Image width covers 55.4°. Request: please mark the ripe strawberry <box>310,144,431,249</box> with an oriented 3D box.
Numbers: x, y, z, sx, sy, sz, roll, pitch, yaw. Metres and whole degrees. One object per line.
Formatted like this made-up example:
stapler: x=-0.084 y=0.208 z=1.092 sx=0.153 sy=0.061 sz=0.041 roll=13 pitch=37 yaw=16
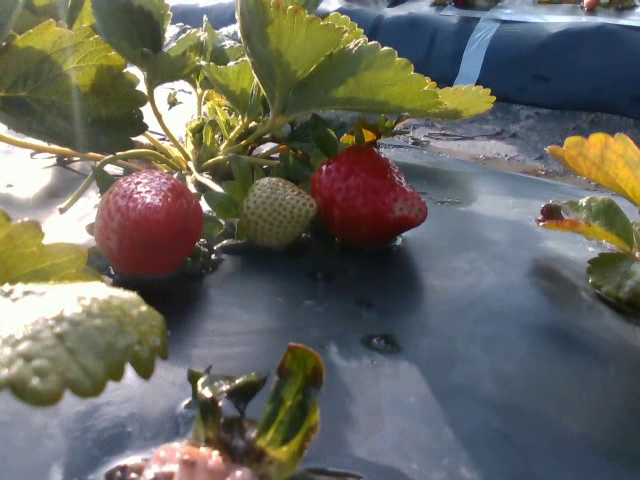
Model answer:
ripe strawberry: x=0.023 y=-0.019 z=0.261 sx=0.065 sy=0.048 sz=0.050 roll=37 pitch=-8 yaw=42
